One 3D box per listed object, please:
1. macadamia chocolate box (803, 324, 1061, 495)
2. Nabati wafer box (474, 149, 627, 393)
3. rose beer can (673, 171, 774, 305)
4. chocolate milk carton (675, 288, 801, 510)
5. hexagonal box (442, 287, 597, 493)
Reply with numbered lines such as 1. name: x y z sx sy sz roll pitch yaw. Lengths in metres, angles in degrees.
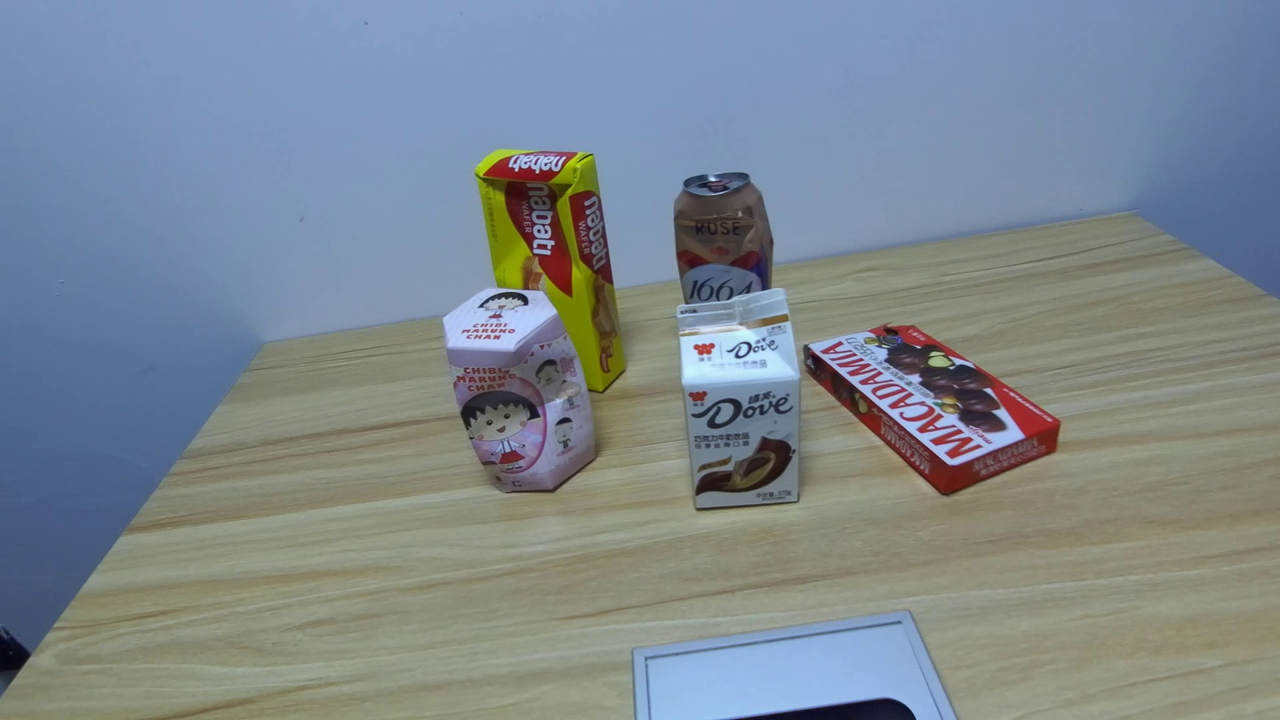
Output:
1. macadamia chocolate box: 0.215 0.023 0.547 0.103 0.027 0.186 -17 34 -14
2. Nabati wafer box: -0.073 -0.071 0.599 0.096 0.204 0.042 11 36 27
3. rose beer can: 0.072 -0.071 0.591 0.075 0.167 0.065 11 36 32
4. chocolate milk carton: 0.066 0.020 0.474 0.075 0.148 0.074 -5 34 4
5. hexagonal box: -0.092 0.023 0.527 0.089 0.135 0.093 -22 36 -16
